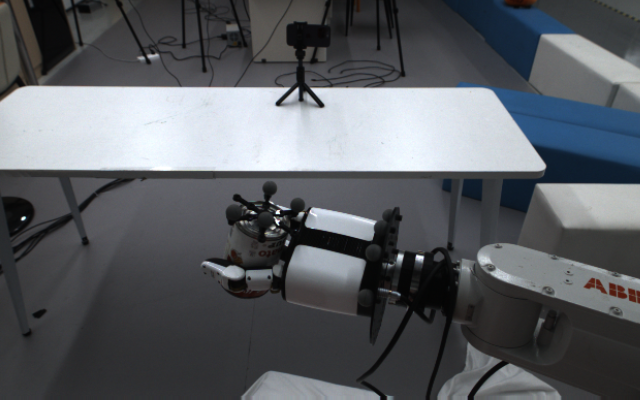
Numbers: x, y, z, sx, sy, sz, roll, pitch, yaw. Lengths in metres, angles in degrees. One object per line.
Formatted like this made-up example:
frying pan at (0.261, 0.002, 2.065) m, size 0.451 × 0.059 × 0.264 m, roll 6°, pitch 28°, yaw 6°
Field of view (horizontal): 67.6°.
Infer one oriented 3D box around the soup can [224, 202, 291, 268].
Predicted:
soup can at (-0.078, 0.060, 0.578) m, size 0.067 × 0.101 × 0.067 m, roll 14°, pitch 35°, yaw -10°
